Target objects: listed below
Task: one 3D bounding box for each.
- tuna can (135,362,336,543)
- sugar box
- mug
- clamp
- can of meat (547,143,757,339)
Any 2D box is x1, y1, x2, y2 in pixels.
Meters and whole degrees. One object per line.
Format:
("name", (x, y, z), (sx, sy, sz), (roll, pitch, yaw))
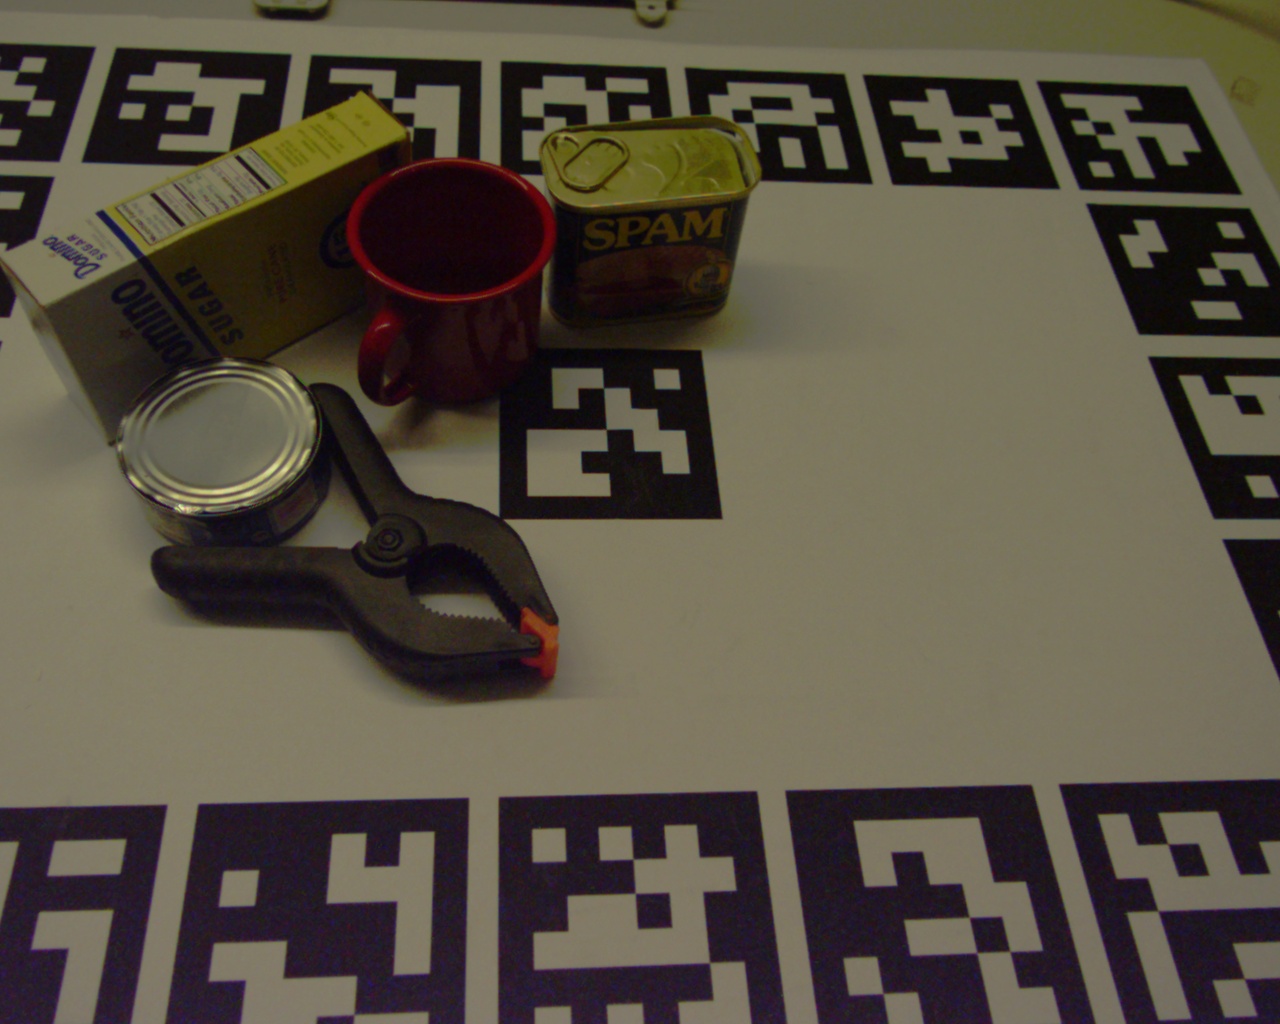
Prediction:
("tuna can", (-0.186, -0.025, 0.530), (0.085, 0.034, 0.086), (2, 60, -4))
("sugar box", (-0.186, -0.112, 0.557), (0.175, 0.093, 0.046), (-35, 67, -26))
("mug", (-0.093, -0.101, 0.556), (0.093, 0.081, 0.117), (21, 60, 6))
("clamp", (-0.106, 0.024, 0.513), (0.166, 0.036, 0.121), (32, 56, 9))
("can of meat", (0.002, -0.140, 0.599), (0.101, 0.083, 0.058), (-7, 58, -12))
